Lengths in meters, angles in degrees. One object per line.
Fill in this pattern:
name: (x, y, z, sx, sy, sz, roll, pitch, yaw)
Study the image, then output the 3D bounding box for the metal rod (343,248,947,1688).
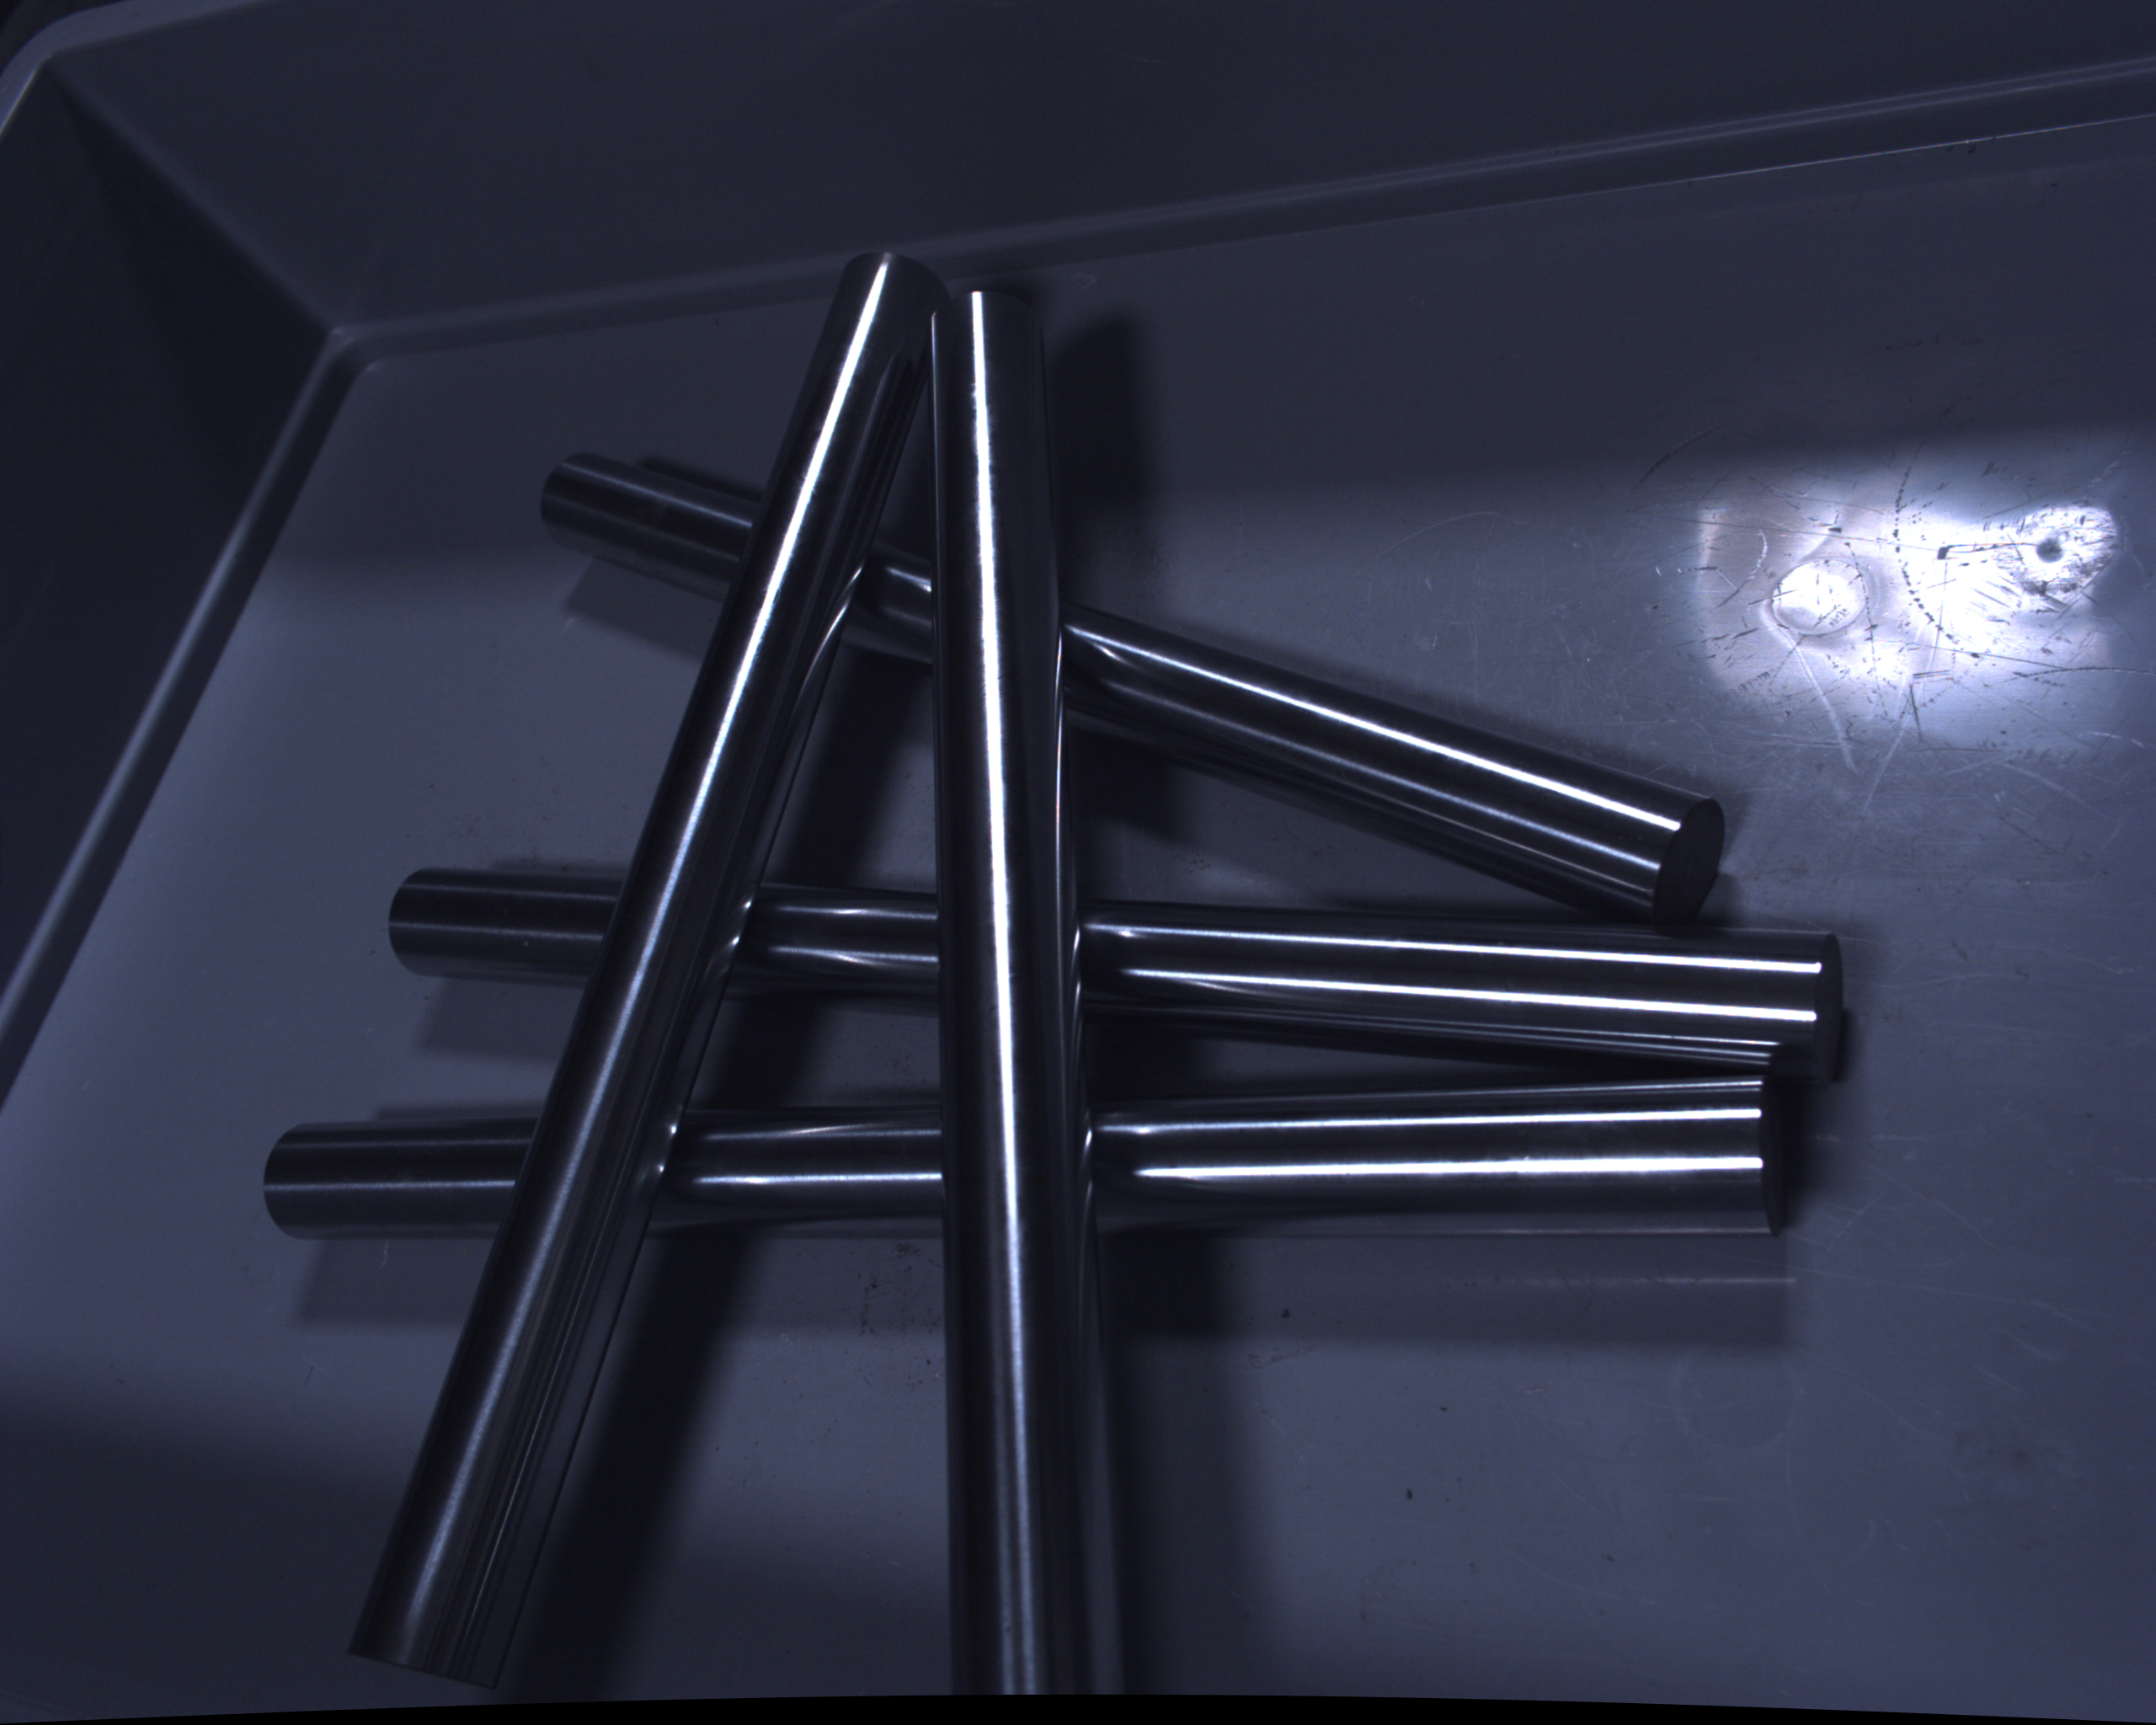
metal rod: (-0.075, 0.002, 0.408, 0.025, 0.025, 0.300, 0, 62, 28)

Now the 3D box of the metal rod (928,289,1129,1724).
metal rod: (-0.012, 0.011, 0.370, 0.025, 0.025, 0.299, -16, 55, 19)

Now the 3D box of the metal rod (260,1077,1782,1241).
metal rod: (-0.030, 0.057, 0.383, 0.301, 0.025, 0.025, -5, 60, 25)

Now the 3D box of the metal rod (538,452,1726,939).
metal rod: (-0.011, -0.045, 0.435, 0.300, 0.025, 0.025, 22, 74, 35)

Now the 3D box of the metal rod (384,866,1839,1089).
metal rod: (-0.015, 0.018, 0.399, 0.300, 0.025, 0.025, 2, 63, 28)
